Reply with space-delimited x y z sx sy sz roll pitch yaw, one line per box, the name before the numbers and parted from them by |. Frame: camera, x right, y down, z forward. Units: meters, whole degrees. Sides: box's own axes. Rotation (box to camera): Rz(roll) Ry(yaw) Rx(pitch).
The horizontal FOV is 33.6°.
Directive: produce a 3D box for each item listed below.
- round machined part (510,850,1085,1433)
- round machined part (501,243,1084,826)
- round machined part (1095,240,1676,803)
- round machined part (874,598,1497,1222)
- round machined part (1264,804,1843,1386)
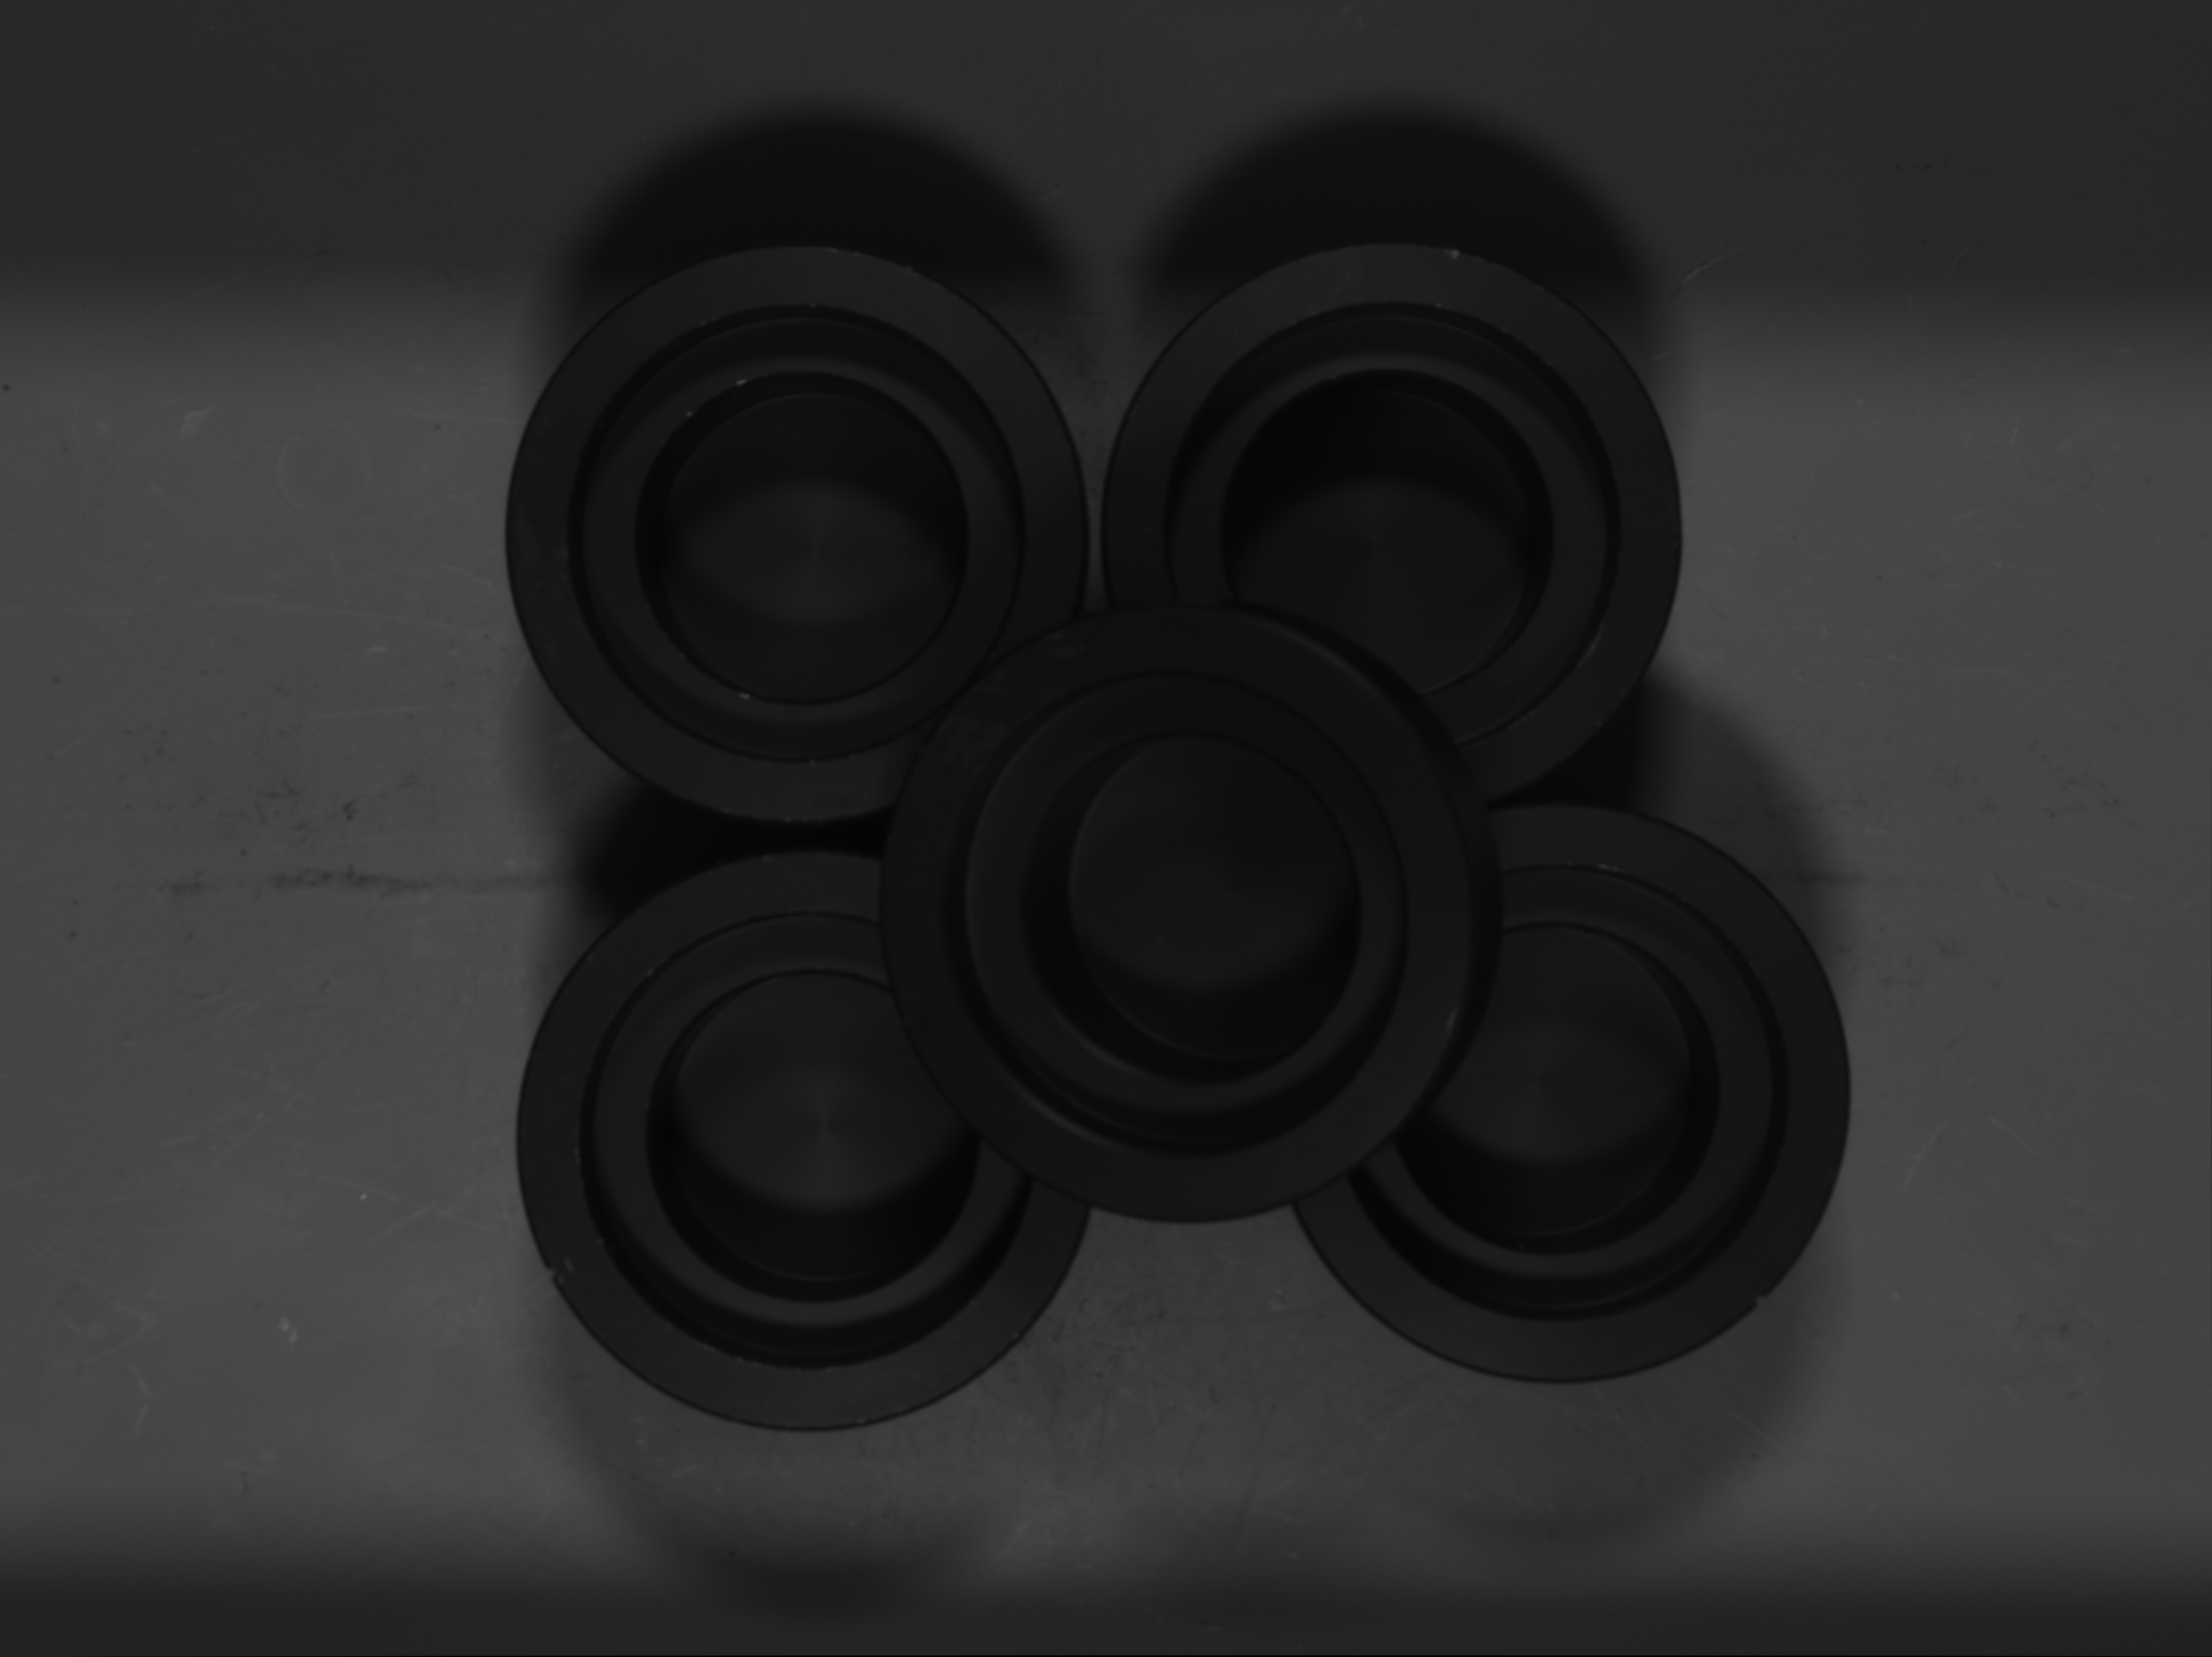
round machined part | -0.051 0.053 0.635 0.098 0.042 0.098 0 90 0
round machined part | -0.053 -0.049 0.635 0.098 0.042 0.098 0 90 0
round machined part | 0.047 -0.050 0.636 0.098 0.042 0.098 0 90 0
round machined part | 0.015 0.012 0.593 0.098 0.042 0.098 2 95 18
round machined part | 0.075 0.045 0.636 0.098 0.042 0.098 0 90 0
